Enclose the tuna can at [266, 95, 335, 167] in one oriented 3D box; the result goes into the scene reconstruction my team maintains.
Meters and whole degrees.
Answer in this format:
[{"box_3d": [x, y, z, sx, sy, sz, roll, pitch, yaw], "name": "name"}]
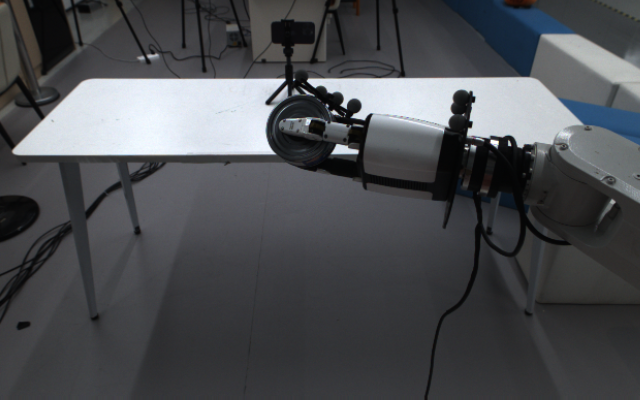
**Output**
[{"box_3d": [-0.021, -0.086, 0.597, 0.085, 0.085, 0.034, 13, -4, 15], "name": "tuna can"}]
